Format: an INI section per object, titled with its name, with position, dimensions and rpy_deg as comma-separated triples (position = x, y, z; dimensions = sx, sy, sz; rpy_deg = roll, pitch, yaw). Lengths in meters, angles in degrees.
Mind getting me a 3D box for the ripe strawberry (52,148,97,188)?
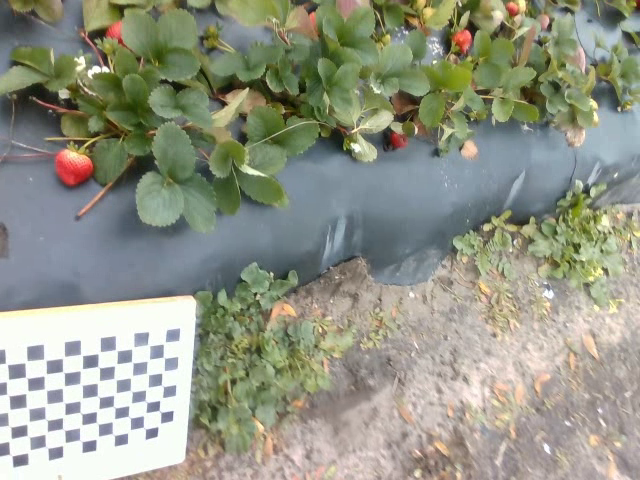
[ripe strawberry]
position = -0.390, -0.112, 0.952
dimensions = 0.061, 0.065, 0.049
rpy_deg = 9, 6, -39
